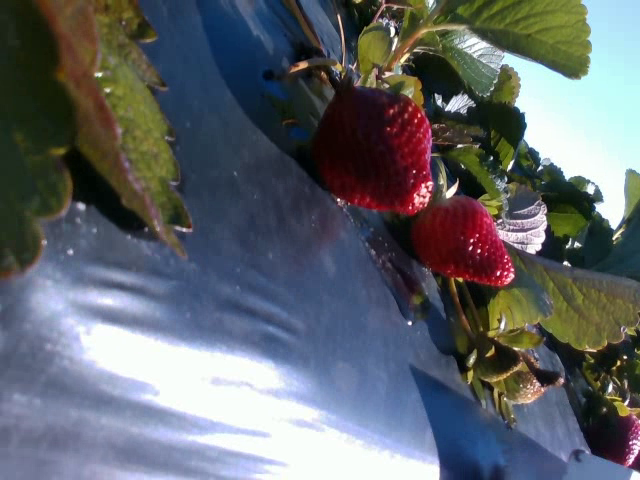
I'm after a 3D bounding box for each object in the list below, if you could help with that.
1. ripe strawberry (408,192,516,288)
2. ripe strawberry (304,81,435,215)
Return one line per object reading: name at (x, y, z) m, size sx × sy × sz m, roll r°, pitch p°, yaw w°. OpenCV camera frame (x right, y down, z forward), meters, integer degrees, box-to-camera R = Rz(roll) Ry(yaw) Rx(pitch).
ripe strawberry at (0.061, 0.004, 0.241) m, size 0.042 × 0.039 × 0.049 m, roll -21°, pitch 52°, yaw -39°
ripe strawberry at (0.021, -0.025, 0.187) m, size 0.044 × 0.051 × 0.050 m, roll -35°, pitch 38°, yaw -7°
